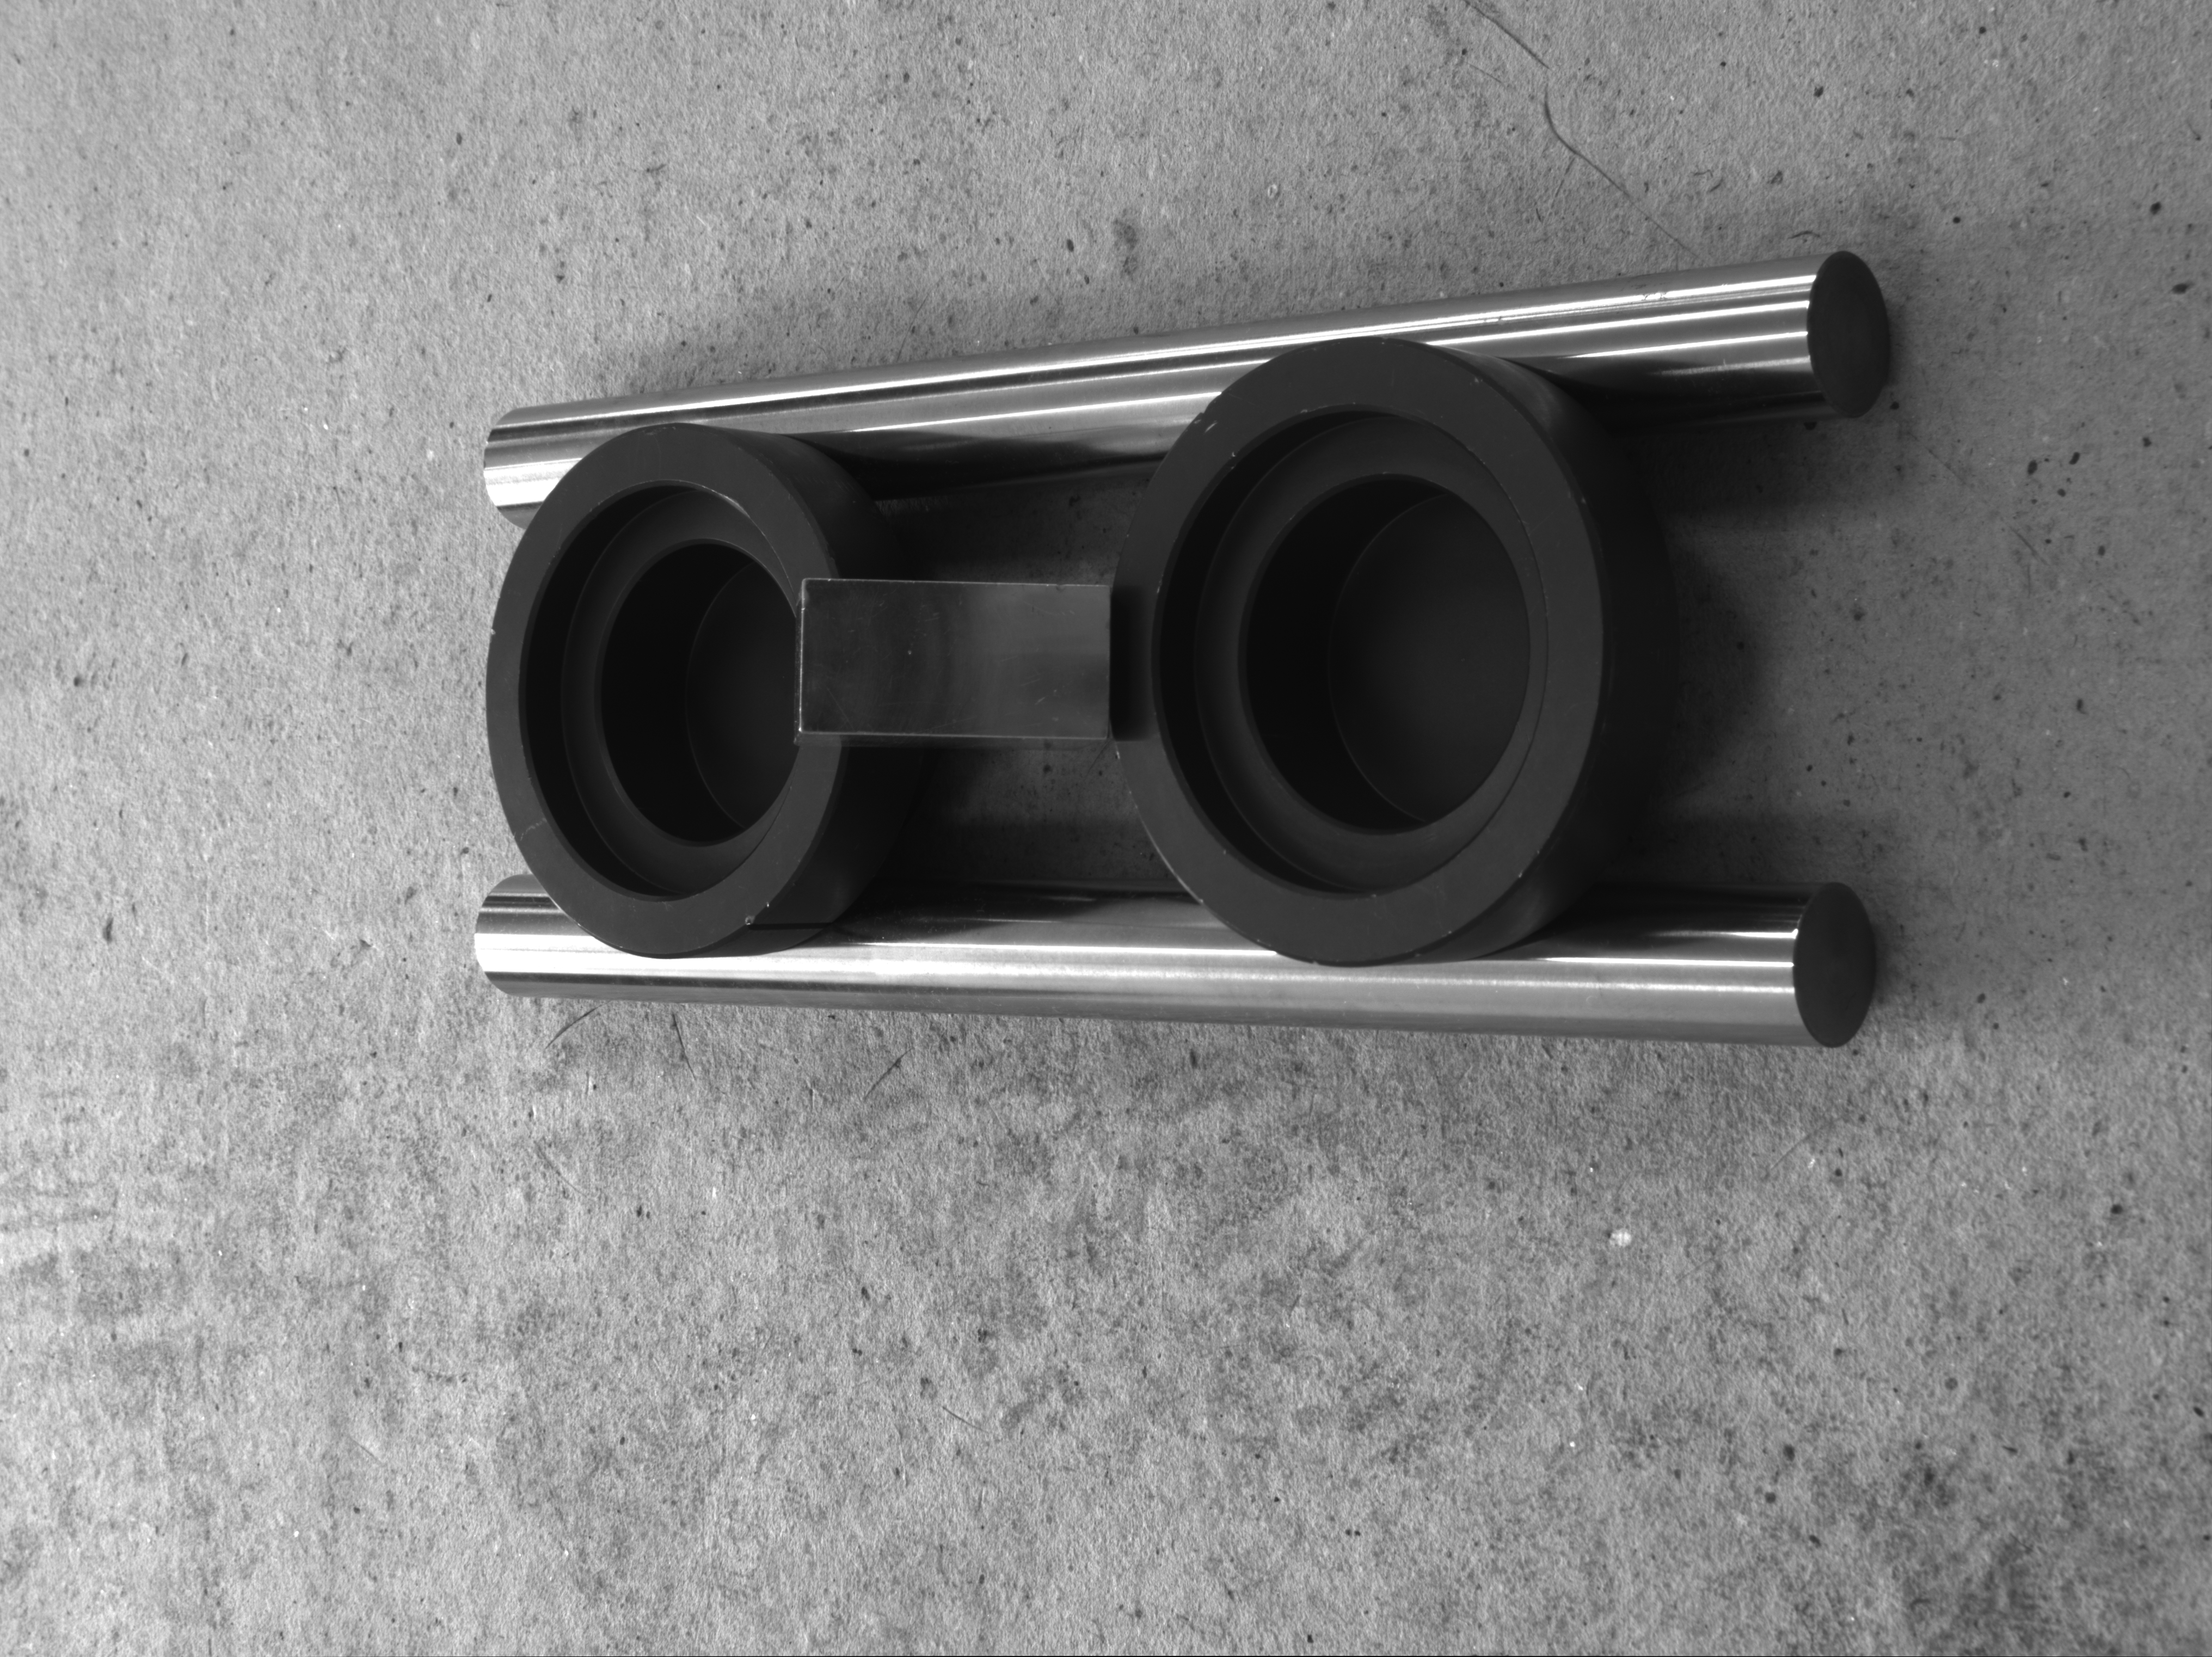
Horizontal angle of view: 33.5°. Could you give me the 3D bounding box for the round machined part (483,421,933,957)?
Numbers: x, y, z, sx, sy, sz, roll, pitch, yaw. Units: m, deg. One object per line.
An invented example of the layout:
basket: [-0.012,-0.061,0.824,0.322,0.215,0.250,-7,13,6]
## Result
round machined part: [-0.069,-0.026,0.687,0.098,0.042,0.098,0,90,40]

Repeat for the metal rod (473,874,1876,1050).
metal rod: [-0.005,0.021,0.649,0.299,0.025,0.025,0,90,40]

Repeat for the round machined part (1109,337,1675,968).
round machined part: [0.049,-0.027,0.586,0.098,0.042,0.098,0,90,40]

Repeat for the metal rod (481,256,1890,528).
metal rod: [-0.003,-0.073,0.648,0.299,0.025,0.025,0,90,40]

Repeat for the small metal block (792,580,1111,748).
small metal block: [-0.027,-0.027,0.618,0.050,0.050,0.025,174,97,-83]
